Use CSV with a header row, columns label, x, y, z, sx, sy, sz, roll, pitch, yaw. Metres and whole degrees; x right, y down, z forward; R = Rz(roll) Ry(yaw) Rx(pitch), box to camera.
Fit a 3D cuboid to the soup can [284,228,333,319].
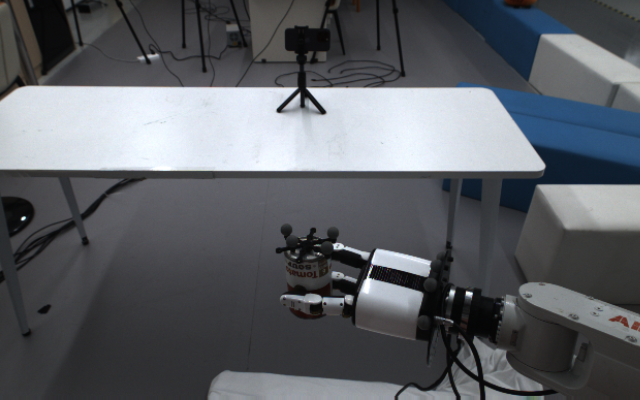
label,x,y,z,sx,sy,sz,roll,pitch,yaw
soup can,-0.013,0.111,0.703,0.067,0.101,0.067,-3,27,2
